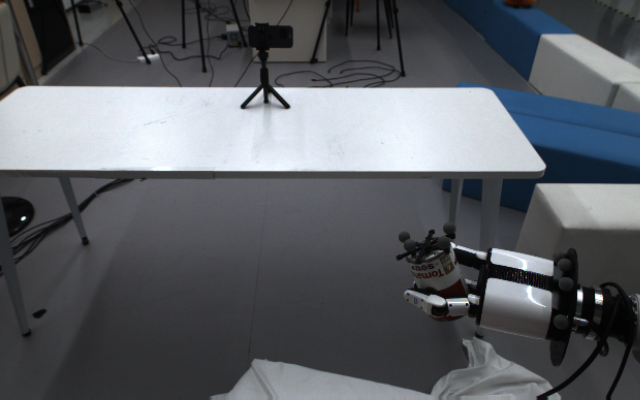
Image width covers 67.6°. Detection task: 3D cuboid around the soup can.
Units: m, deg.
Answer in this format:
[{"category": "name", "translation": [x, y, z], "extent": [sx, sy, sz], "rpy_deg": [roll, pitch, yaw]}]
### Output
[{"category": "soup can", "translation": [0.173, 0.112, 0.694], "extent": [0.067, 0.101, 0.067], "rpy_deg": [-23, 16, 7]}]
